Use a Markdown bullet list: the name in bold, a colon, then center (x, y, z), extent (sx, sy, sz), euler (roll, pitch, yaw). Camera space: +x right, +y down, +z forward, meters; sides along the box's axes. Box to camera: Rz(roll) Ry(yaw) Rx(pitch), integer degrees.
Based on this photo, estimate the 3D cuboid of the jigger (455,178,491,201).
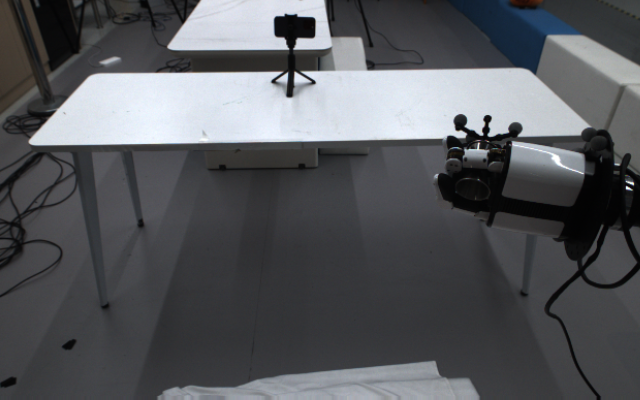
- **jigger**: center (0.204, -0.040, 0.619), extent (0.043, 0.043, 0.071), euler (13, 58, 15)
